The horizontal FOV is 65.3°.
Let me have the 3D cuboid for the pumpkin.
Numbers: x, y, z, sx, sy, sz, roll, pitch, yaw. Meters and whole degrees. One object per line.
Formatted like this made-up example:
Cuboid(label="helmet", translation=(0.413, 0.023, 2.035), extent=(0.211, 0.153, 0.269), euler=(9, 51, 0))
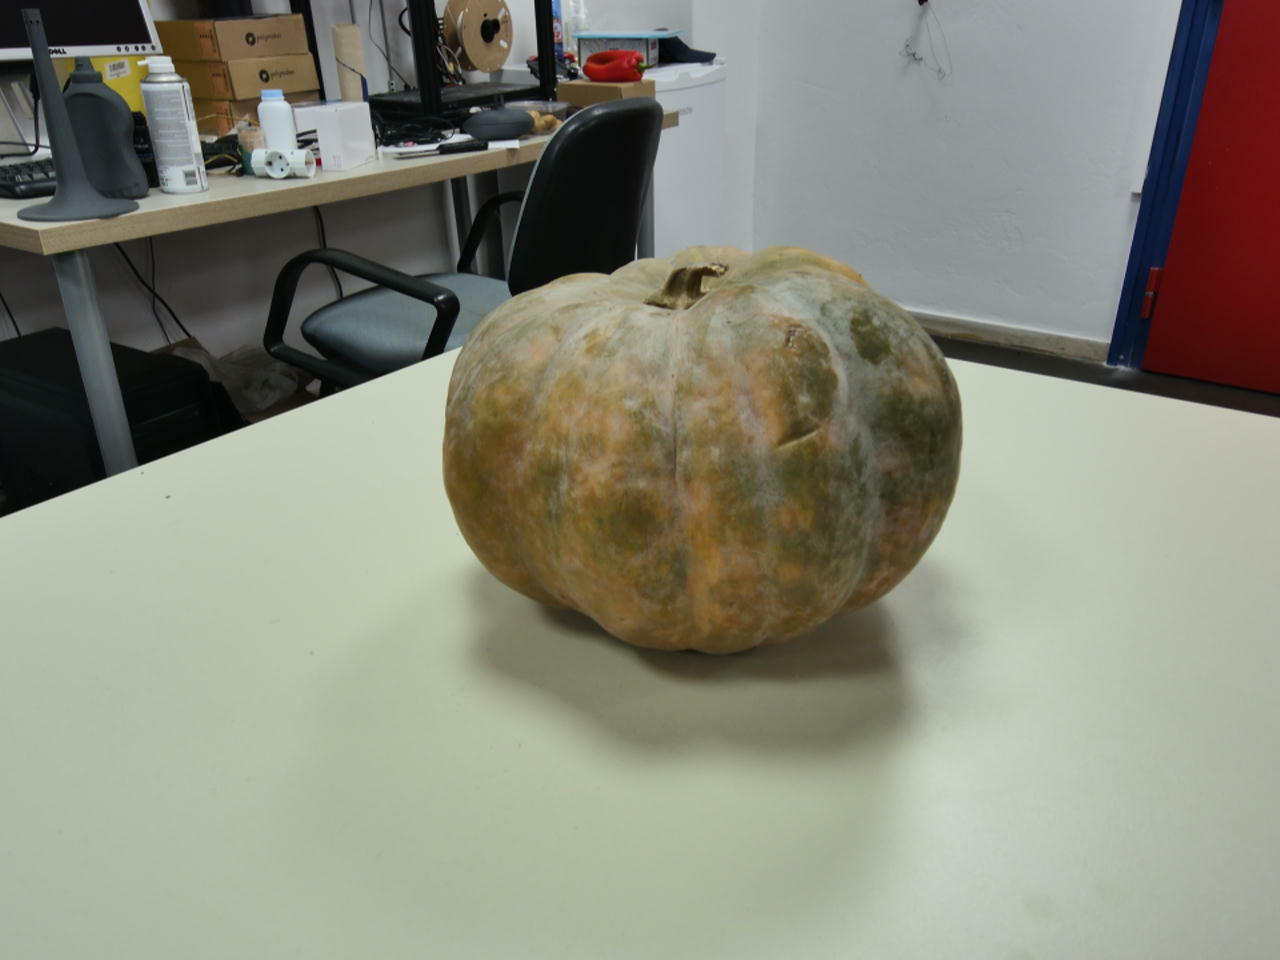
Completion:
Cuboid(label="pumpkin", translation=(0.026, -0.024, 0.481), extent=(0.252, 0.169, 0.251), euler=(0, 25, 0))
